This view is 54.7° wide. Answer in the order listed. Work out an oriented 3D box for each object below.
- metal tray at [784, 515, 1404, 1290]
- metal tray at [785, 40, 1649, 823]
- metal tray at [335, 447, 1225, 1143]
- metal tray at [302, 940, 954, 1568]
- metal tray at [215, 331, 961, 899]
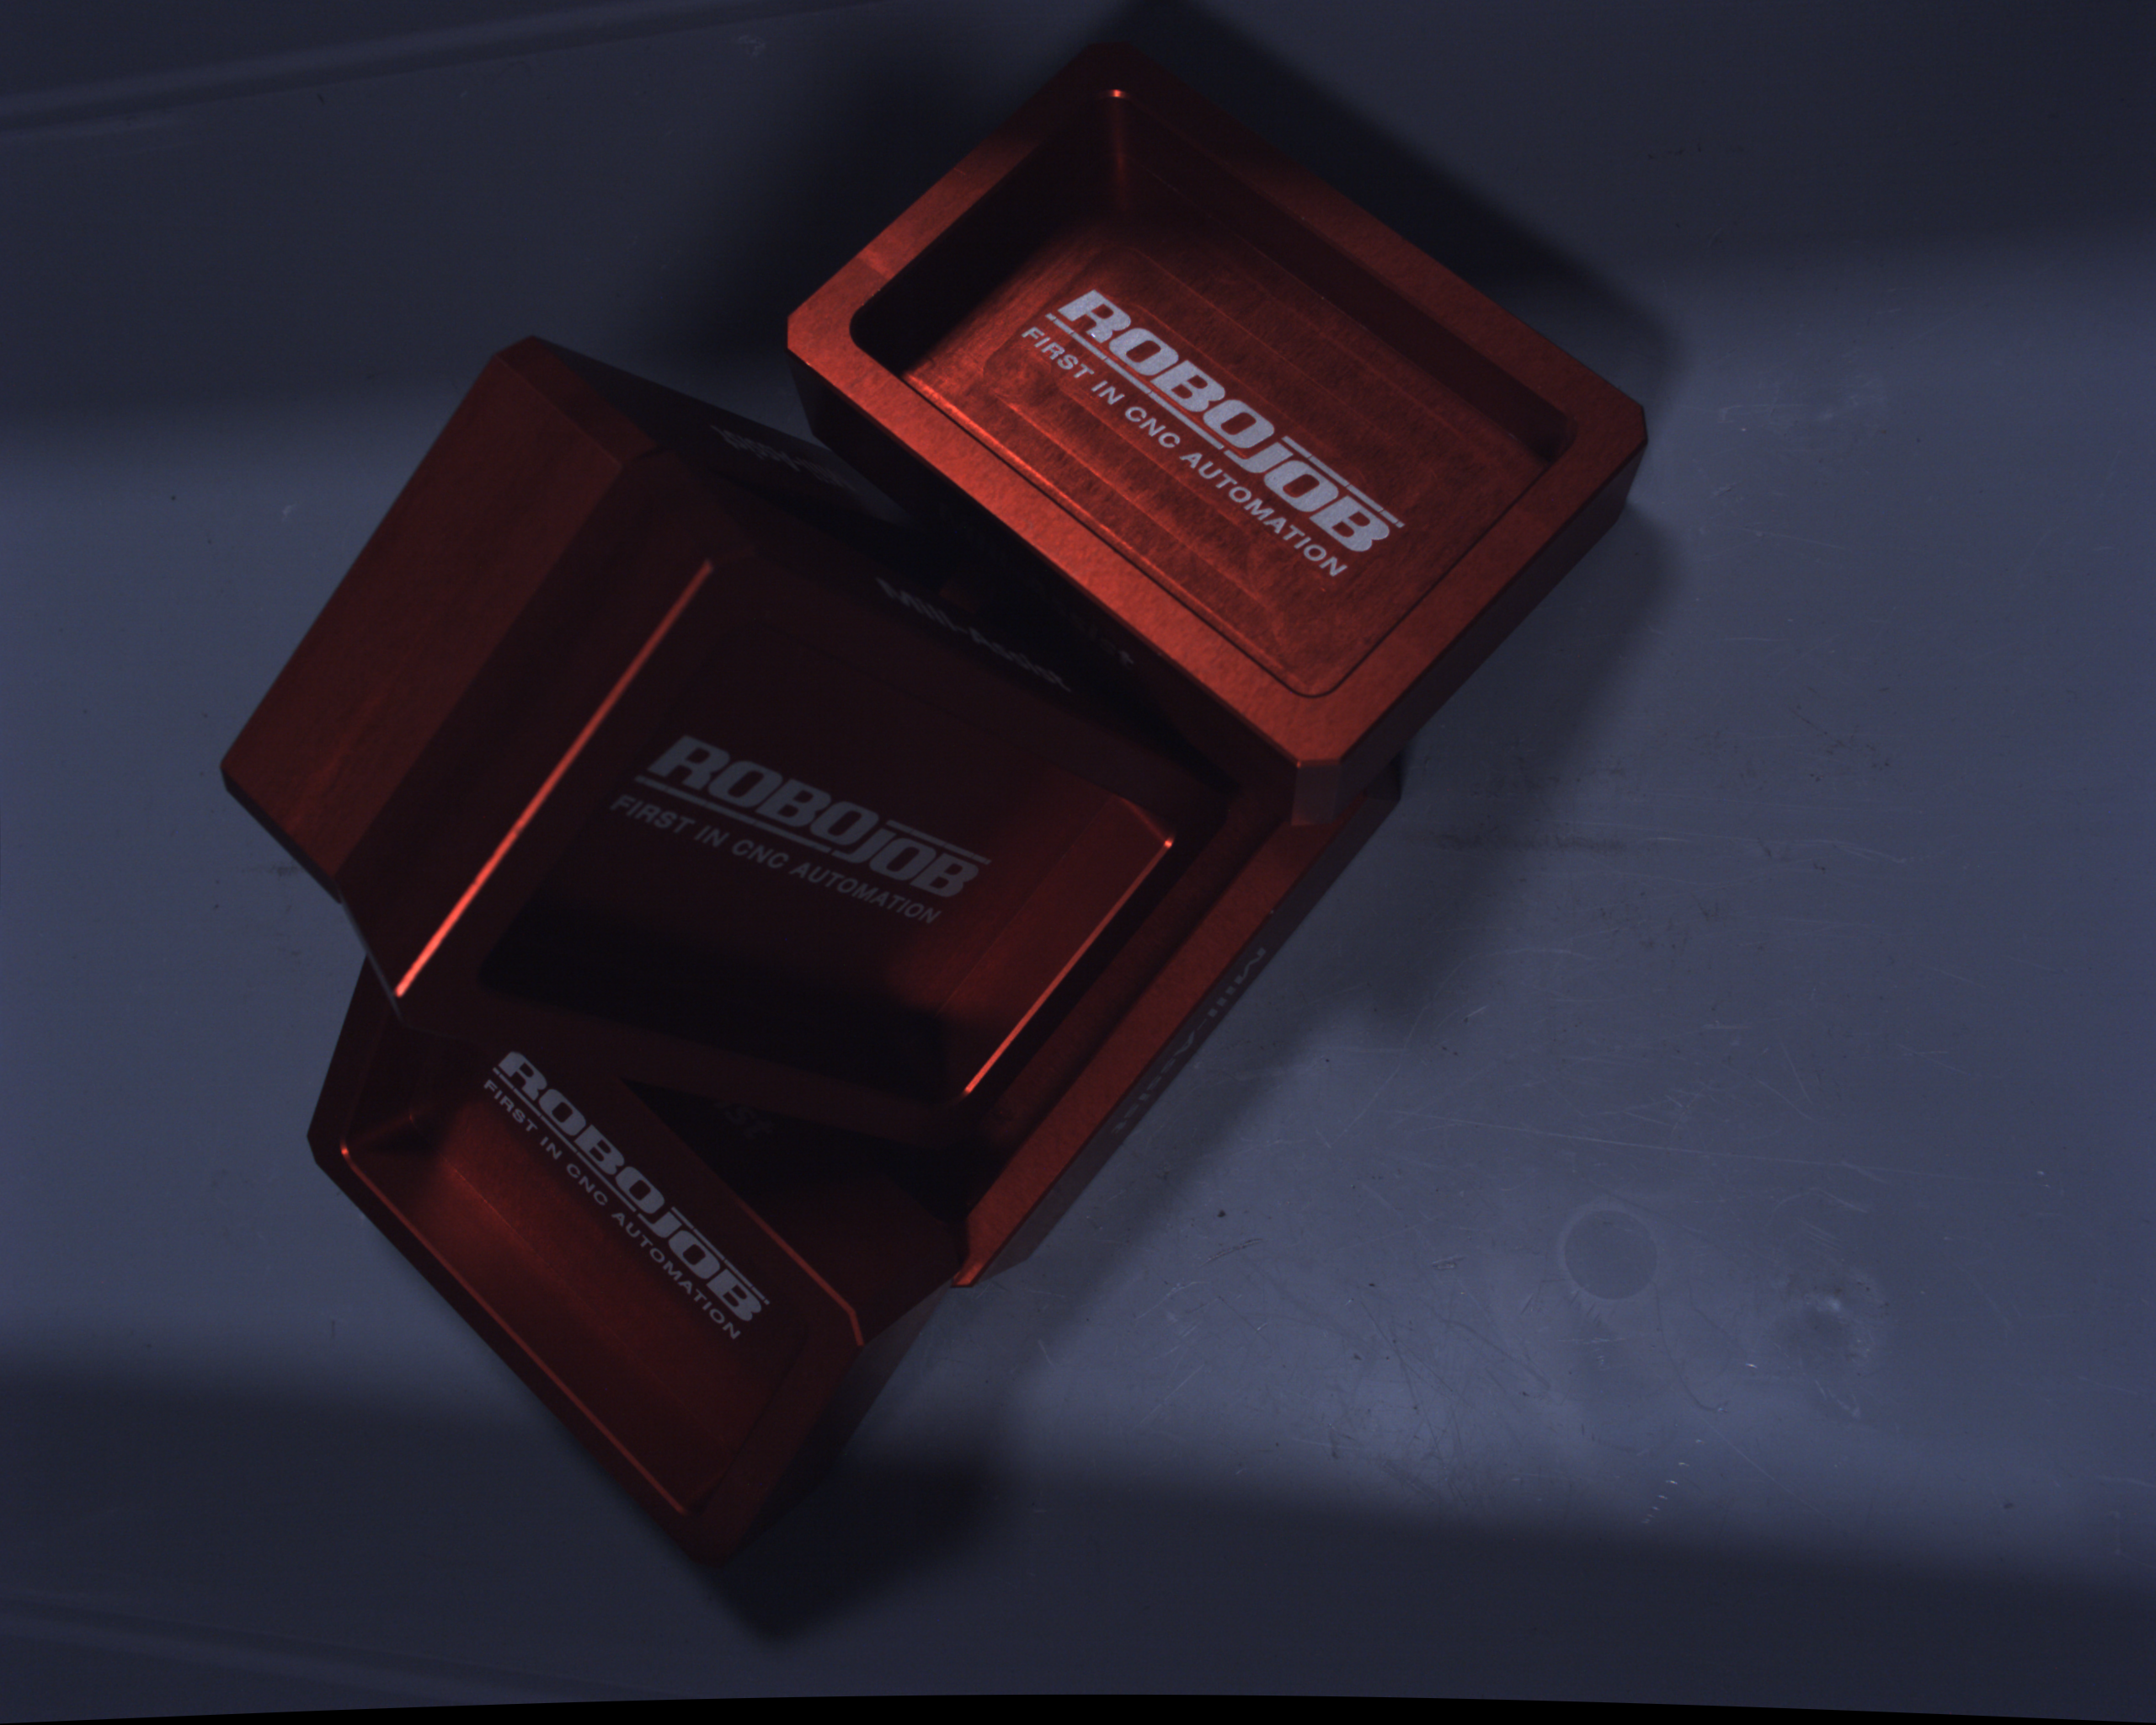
[{"bbox_3d":[-0.011,0.006,0.409,0.090,0.030,0.130,41,102,15],"label":"metal tray"},{"bbox_3d":[0.024,-0.081,0.379,0.130,0.030,0.090,41,77,15],"label":"metal tray"},{"bbox_3d":[-0.044,-0.004,0.355,0.090,0.131,0.030,-52,51,12],"label":"metal tray"},{"bbox_3d":[-0.095,0.067,0.420,0.130,0.030,0.089,41,127,14],"label":"metal tray"},{"bbox_3d":[-0.079,-0.037,0.379,0.030,0.130,0.090,42,103,15],"label":"metal tray"}]
